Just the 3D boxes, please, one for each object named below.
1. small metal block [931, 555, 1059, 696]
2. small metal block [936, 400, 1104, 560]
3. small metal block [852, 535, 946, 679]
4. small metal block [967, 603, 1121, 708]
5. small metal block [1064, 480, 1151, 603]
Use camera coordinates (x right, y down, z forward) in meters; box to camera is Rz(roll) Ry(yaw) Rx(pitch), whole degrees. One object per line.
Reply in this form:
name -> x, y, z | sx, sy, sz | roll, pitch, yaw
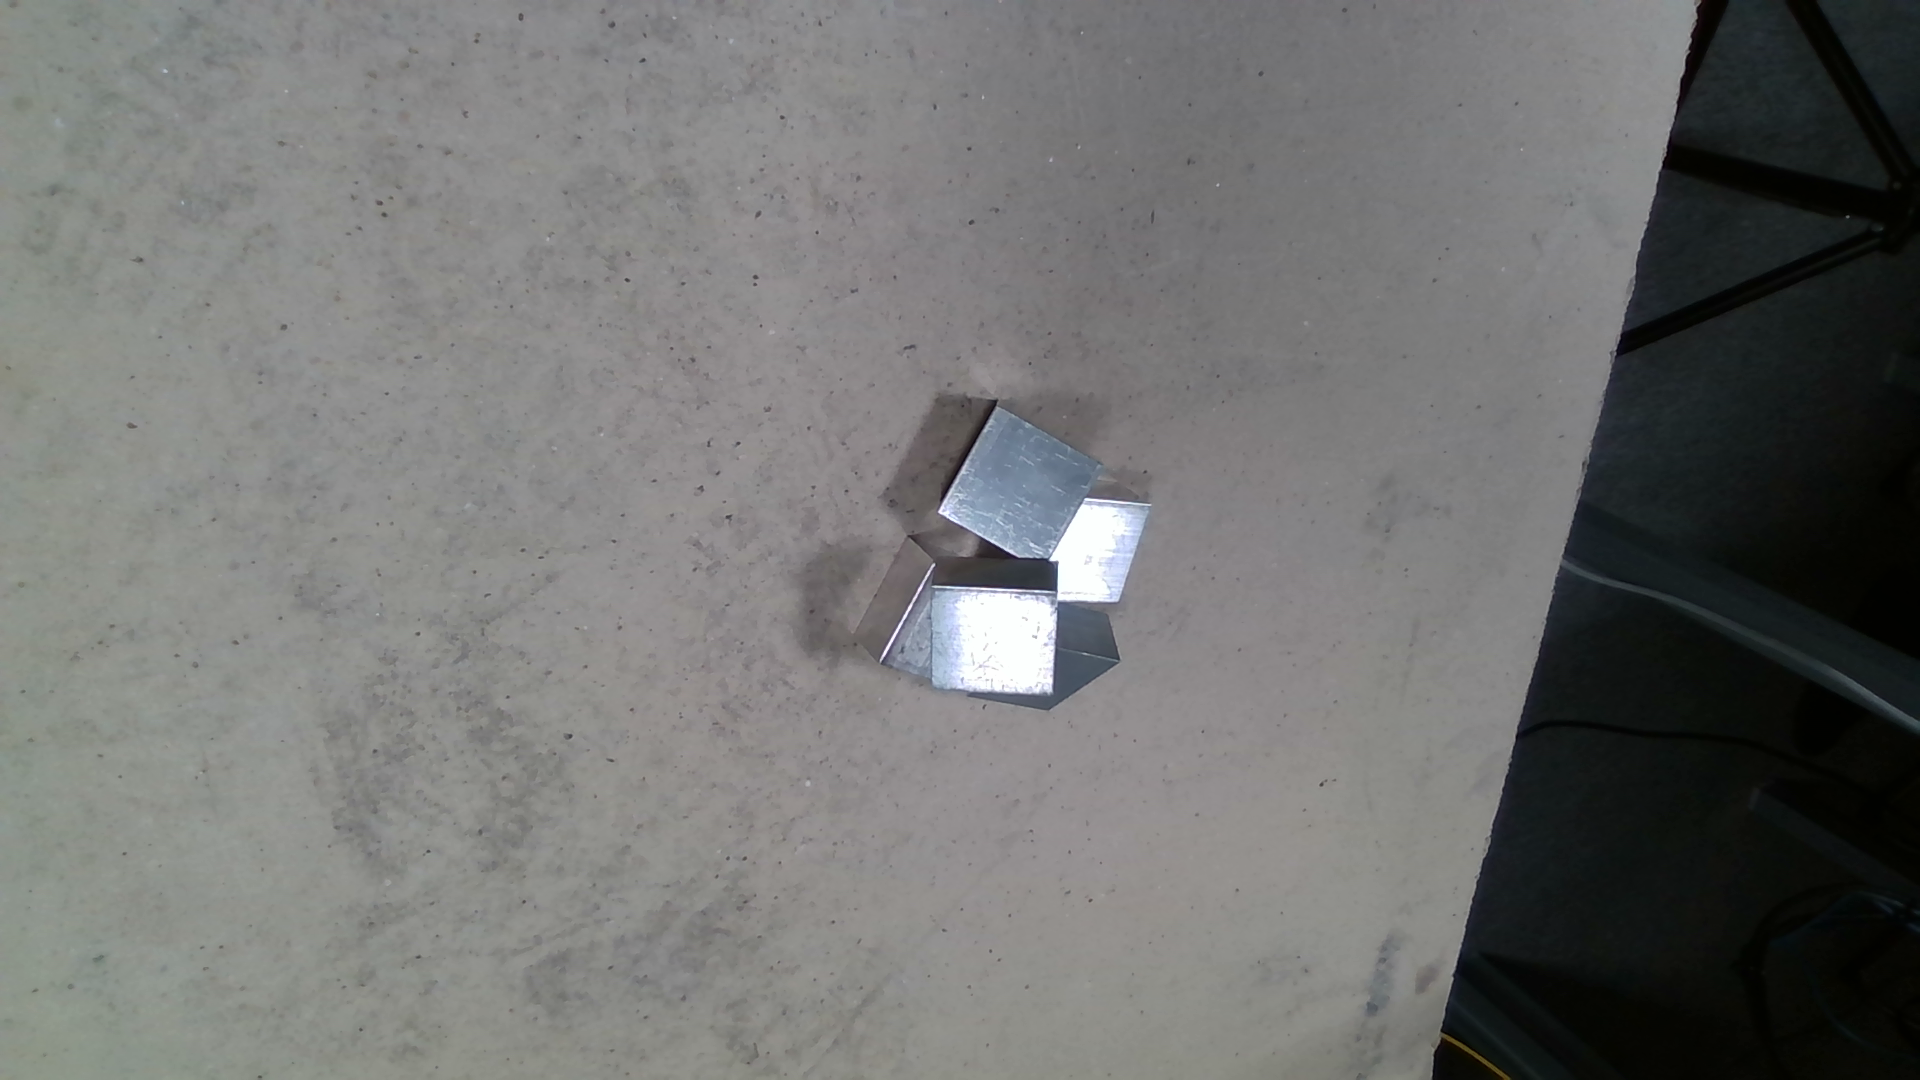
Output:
small metal block -> 0.014, 0.035, 0.562 | 0.050, 0.025, 0.050 | 2, 118, 3
small metal block -> 0.025, -0.023, 0.569 | 0.050, 0.025, 0.050 | 29, 100, -2
small metal block -> -0.010, 0.032, 0.592 | 0.050, 0.025, 0.050 | 21, 103, -37
small metal block -> 0.034, 0.051, 0.615 | 0.050, 0.025, 0.050 | 15, 139, -36
small metal block -> 0.051, 0.000, 0.612 | 0.050, 0.025, 0.050 | 3, 113, -33
